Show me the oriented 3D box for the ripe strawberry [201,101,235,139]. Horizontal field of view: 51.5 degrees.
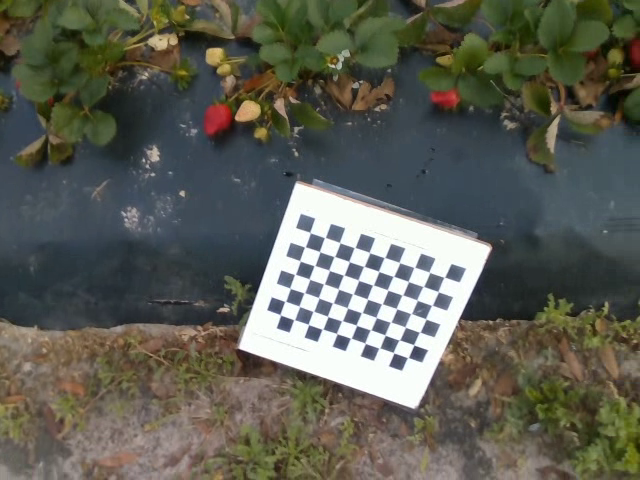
[{"bbox_3d":[-0.159,-0.181,0.975,0.050,0.059,0.034,8,-36,7],"label":"ripe strawberry"}]
